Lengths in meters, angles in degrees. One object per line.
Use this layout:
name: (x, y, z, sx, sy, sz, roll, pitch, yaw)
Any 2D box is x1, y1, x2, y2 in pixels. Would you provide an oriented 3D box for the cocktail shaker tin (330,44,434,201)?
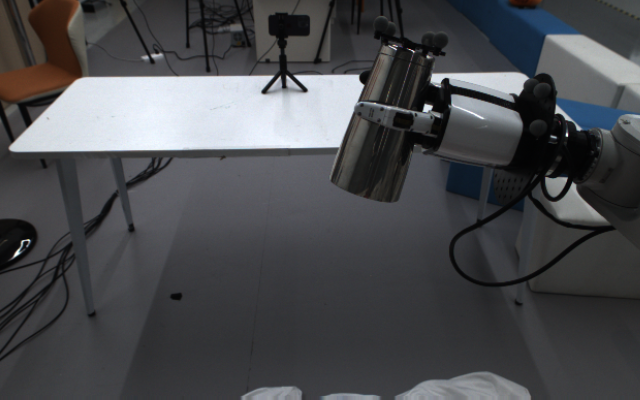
cocktail shaker tin: (0.079, -0.094, 0.581, 0.093, 0.170, 0.093, 15, 17, -5)
